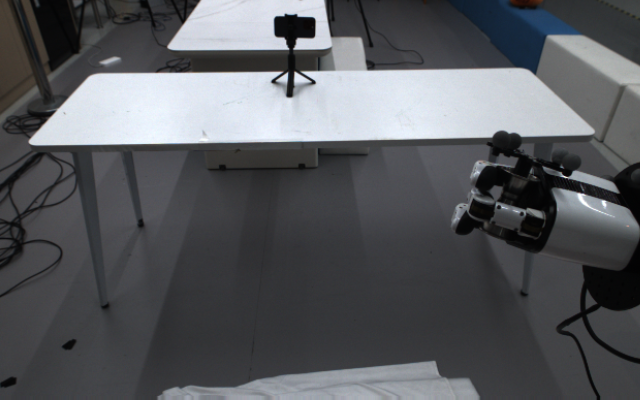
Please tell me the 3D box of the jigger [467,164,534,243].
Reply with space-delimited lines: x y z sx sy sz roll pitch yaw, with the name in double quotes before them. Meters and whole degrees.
"jigger" 0.200 0.003 0.514 0.043 0.071 0.043 15 16 -4
